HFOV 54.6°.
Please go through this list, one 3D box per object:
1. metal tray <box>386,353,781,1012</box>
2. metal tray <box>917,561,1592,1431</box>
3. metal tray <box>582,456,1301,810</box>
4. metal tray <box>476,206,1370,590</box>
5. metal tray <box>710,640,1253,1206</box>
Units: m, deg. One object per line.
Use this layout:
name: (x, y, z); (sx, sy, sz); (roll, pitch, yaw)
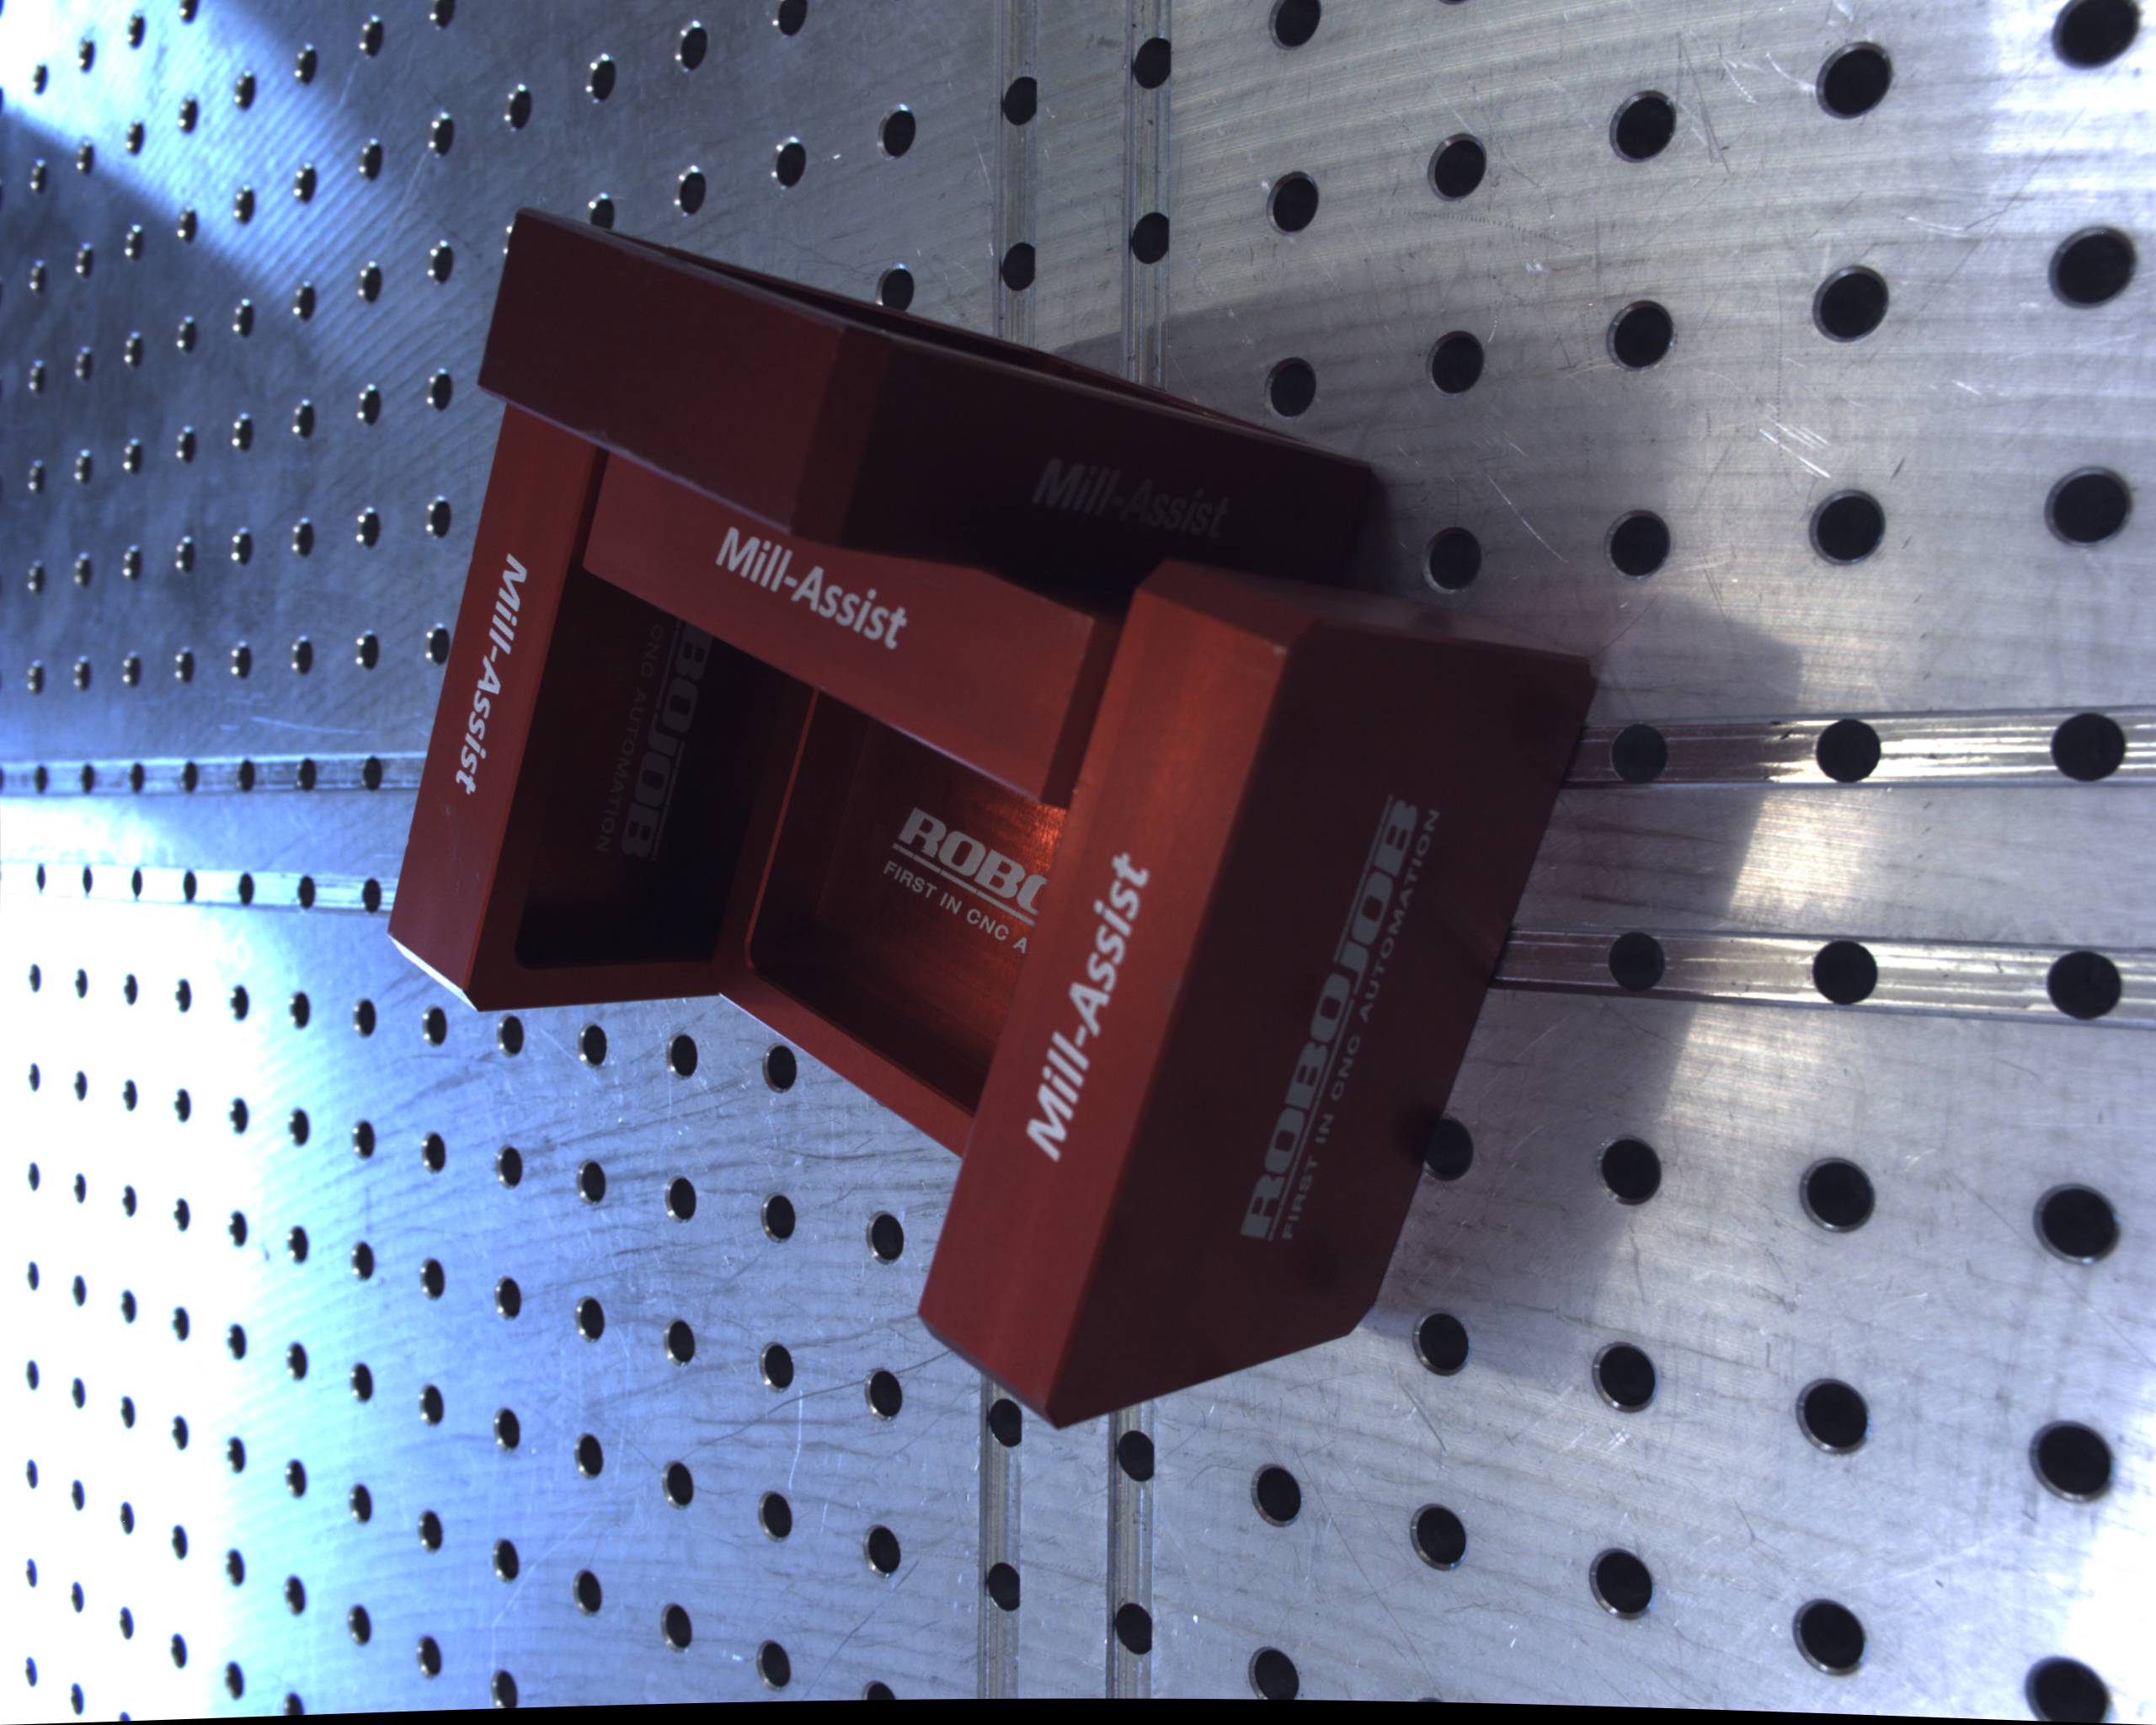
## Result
metal tray: (-0.085, -0.036, 0.438); (0.030, 0.091, 0.129); (27, 107, 36)
metal tray: (0.031, 0.021, 0.342); (0.030, 0.091, 0.129); (27, 107, 37)
metal tray: (-0.015, -0.046, 0.380); (0.130, 0.091, 0.030); (28, 108, 36)
metal tray: (-0.022, -0.075, 0.360); (0.090, 0.131, 0.030); (28, 108, 36)
metal tray: (-0.013, 0.010, 0.417); (0.130, 0.030, 0.089); (28, 107, 36)
